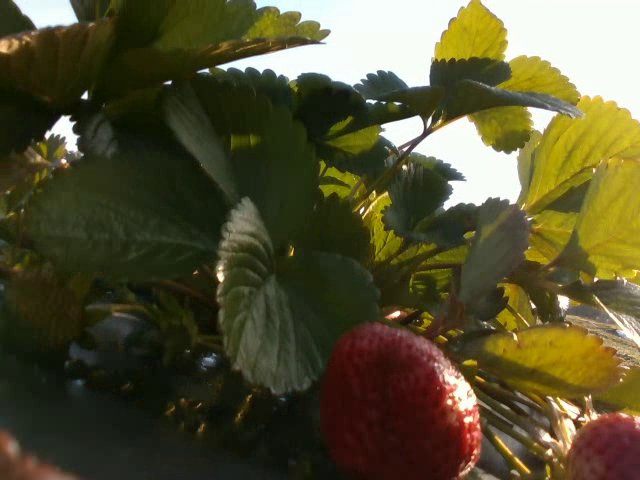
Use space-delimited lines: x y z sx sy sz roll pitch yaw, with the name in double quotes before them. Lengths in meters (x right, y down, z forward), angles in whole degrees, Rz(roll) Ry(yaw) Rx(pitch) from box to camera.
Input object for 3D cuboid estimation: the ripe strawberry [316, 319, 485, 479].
"ripe strawberry" 0.021 0.042 0.152 0.039 0.048 0.054 -28 -37 -8
